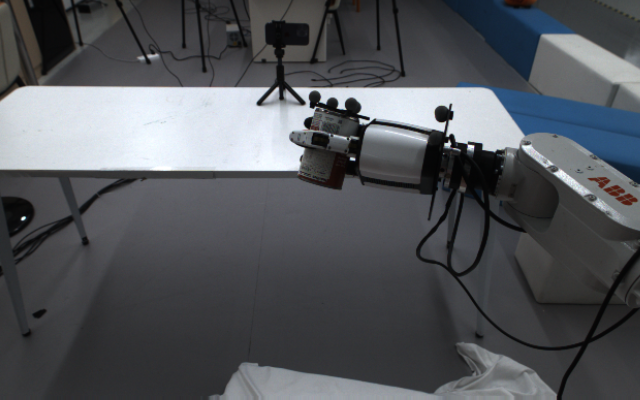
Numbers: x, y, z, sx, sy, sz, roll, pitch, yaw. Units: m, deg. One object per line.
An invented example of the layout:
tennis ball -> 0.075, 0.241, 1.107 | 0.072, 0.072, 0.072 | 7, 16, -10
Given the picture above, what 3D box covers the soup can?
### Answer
soup can -> 0.012, -0.072, 0.688 | 0.067, 0.101, 0.067 | 15, 7, -2
